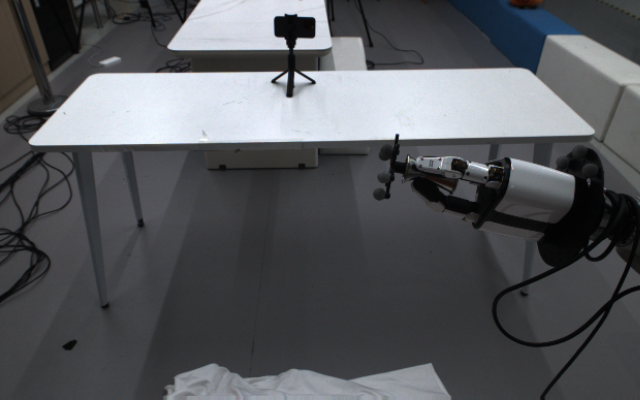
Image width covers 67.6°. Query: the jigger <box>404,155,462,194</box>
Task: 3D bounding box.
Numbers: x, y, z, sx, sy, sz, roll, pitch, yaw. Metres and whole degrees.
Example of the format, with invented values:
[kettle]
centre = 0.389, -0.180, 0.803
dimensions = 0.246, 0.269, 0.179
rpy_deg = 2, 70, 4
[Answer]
[jigger]
centre = 0.153, -0.040, 0.644
dimensions = 0.071, 0.043, 0.043
rpy_deg = 11, 35, 4
